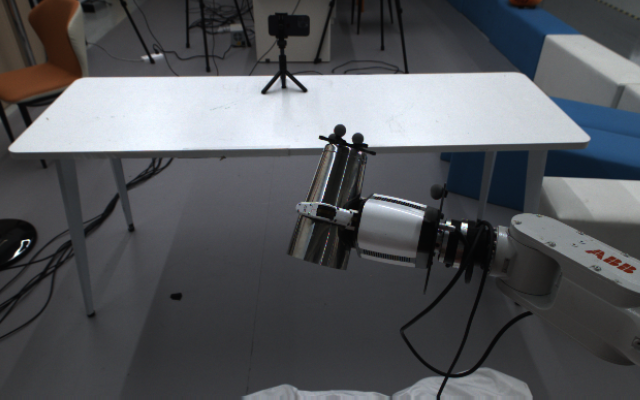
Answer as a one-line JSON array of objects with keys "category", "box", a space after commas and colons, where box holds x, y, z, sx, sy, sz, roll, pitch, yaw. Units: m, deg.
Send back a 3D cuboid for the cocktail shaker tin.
[{"category": "cocktail shaker tin", "box": [0.017, 0.009, 0.712, 0.093, 0.170, 0.093, 15, -4, 1]}]
